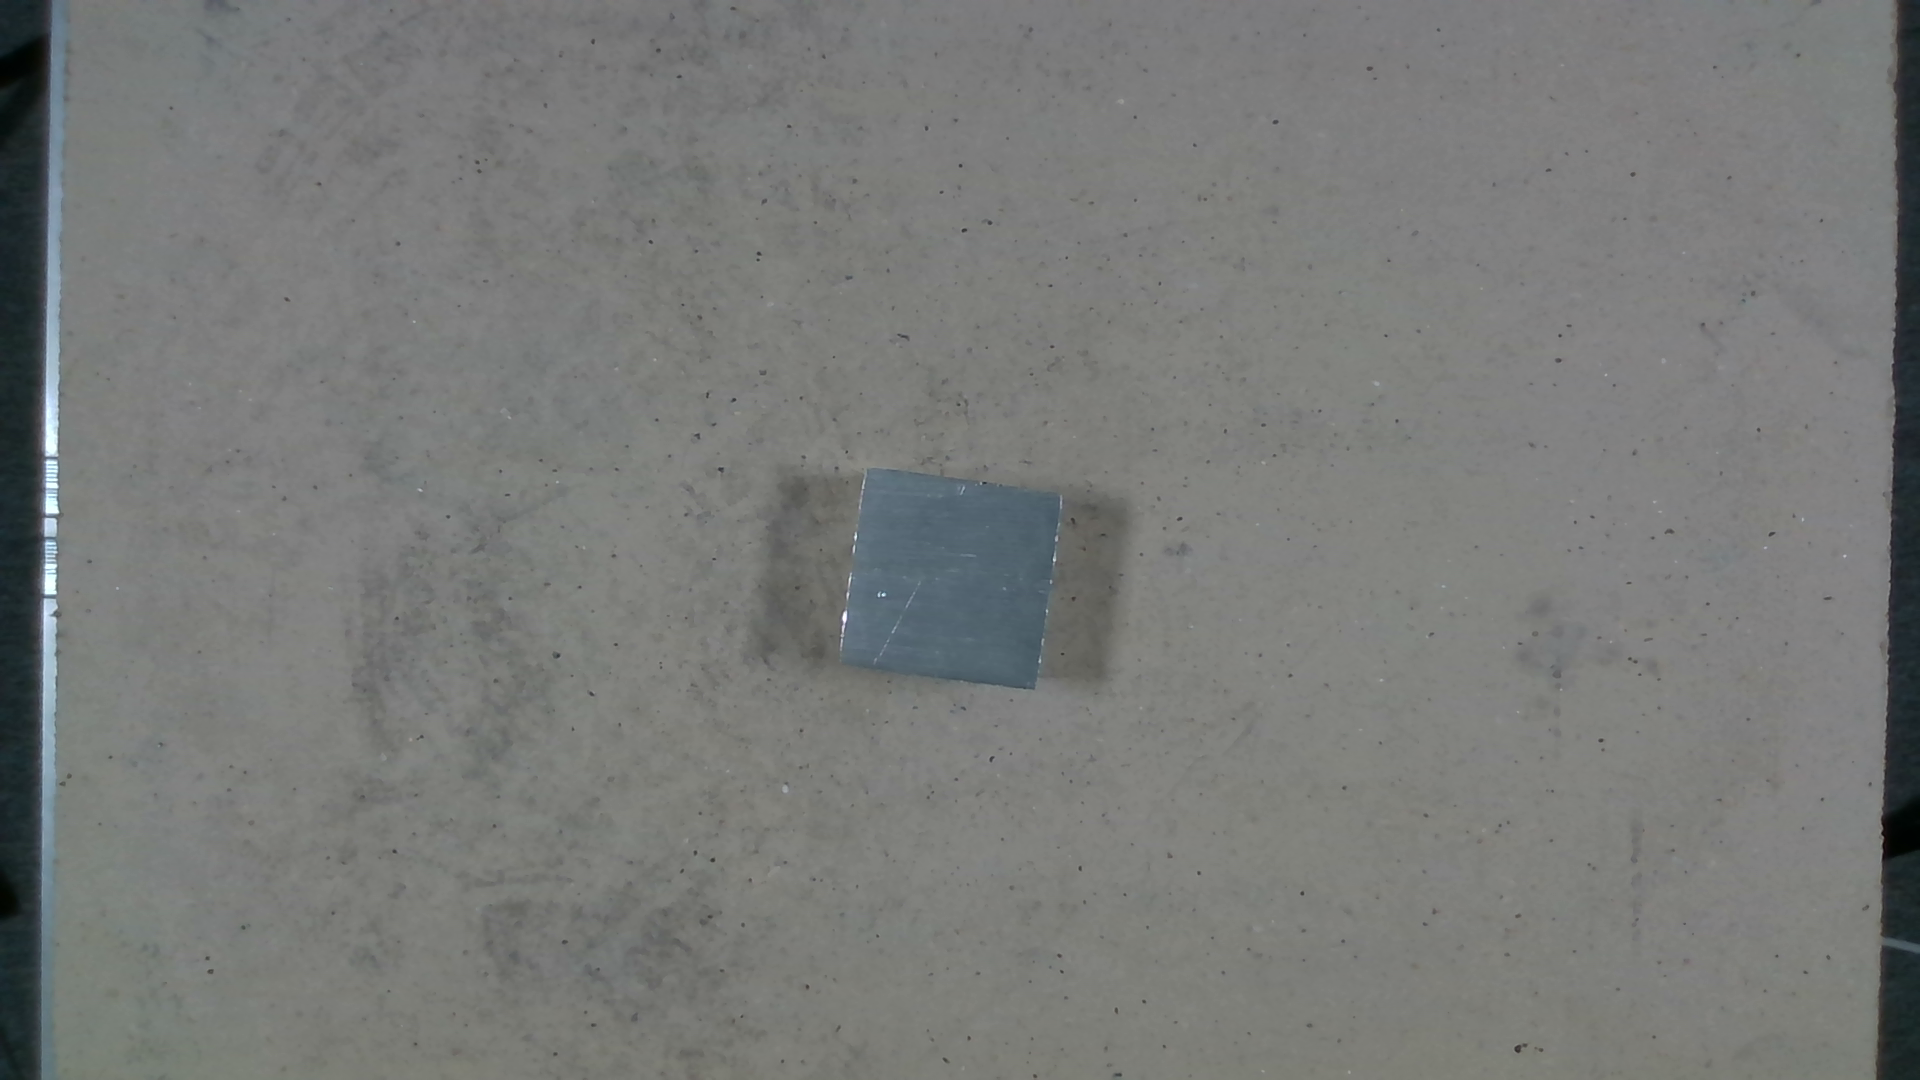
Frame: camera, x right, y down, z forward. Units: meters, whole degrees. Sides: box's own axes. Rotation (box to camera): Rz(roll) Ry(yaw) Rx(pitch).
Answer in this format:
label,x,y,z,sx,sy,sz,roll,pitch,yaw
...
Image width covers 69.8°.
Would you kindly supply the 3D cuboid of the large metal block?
label,x,y,z,sx,sy,sz,roll,pitch,yaw
large metal block,-0.004,0.015,0.575,0.080,0.050,0.080,8,90,0
